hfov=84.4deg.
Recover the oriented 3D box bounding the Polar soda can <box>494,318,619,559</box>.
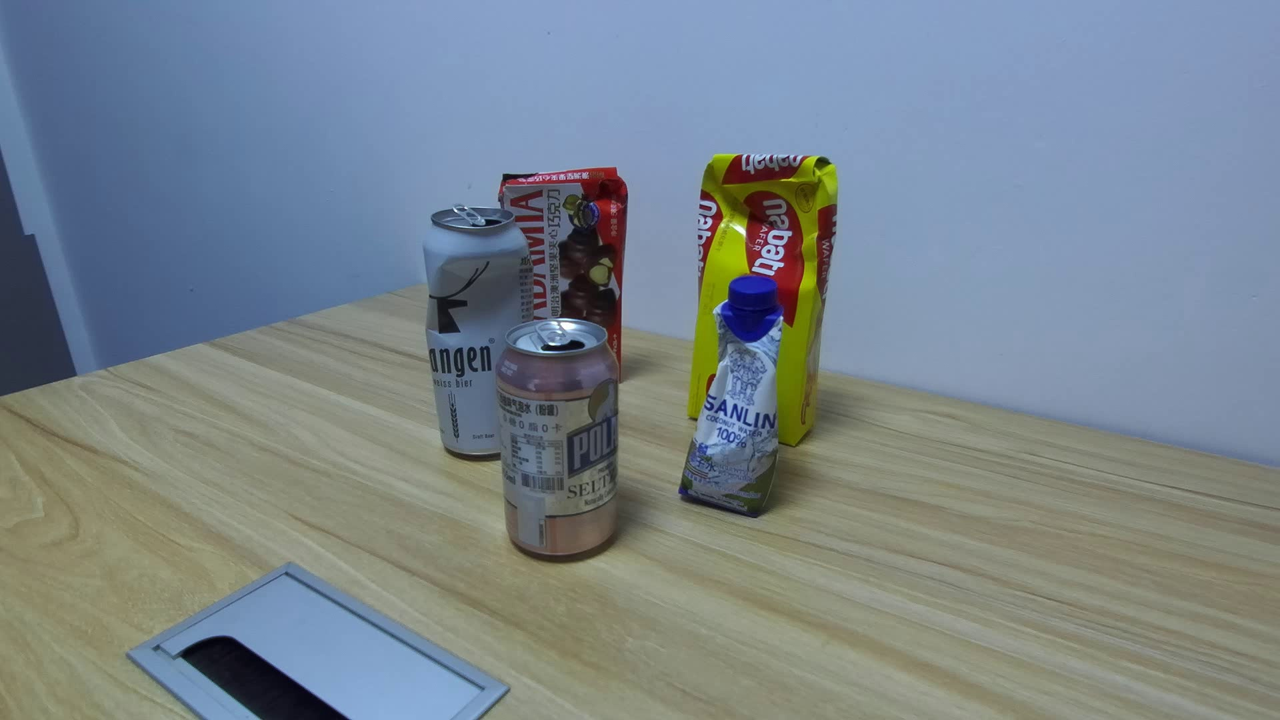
[{"bbox_3d":[-0.045,0.044,0.398,0.067,0.125,0.067,1,20,0],"label":"Polar soda can"}]

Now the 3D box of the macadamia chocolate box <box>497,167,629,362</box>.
[{"bbox_3d":[-0.060,-0.065,0.595,0.103,0.187,0.027,-2,24,-4],"label":"macadamia chocolate box"}]

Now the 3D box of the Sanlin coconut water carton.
[{"bbox_3d":[0.069,0.020,0.443,0.056,0.144,0.068,14,15,14],"label":"Sanlin coconut water carton"}]

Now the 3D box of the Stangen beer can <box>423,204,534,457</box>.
[{"bbox_3d":[-0.111,-0.018,0.492,0.070,0.173,0.070,12,25,26],"label":"Stangen beer can"}]

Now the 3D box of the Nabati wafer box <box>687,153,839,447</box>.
[{"bbox_3d":[0.087,-0.043,0.516,0.113,0.205,0.043,11,19,29],"label":"Nabati wafer box"}]
